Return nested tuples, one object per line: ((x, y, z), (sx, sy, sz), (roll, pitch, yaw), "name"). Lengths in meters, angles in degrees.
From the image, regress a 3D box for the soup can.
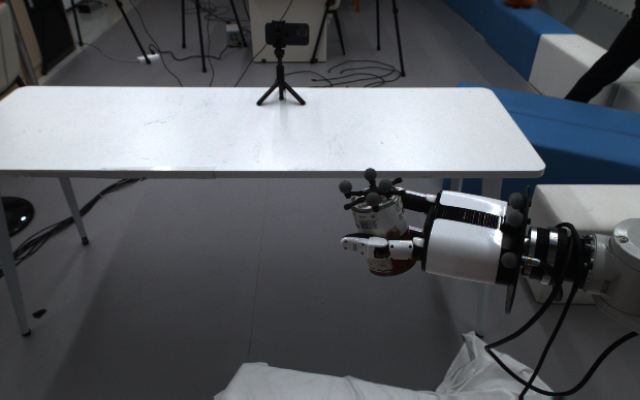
((0.086, 0.040, 0.641), (0.067, 0.101, 0.067), (-16, 23, 7), "soup can")
